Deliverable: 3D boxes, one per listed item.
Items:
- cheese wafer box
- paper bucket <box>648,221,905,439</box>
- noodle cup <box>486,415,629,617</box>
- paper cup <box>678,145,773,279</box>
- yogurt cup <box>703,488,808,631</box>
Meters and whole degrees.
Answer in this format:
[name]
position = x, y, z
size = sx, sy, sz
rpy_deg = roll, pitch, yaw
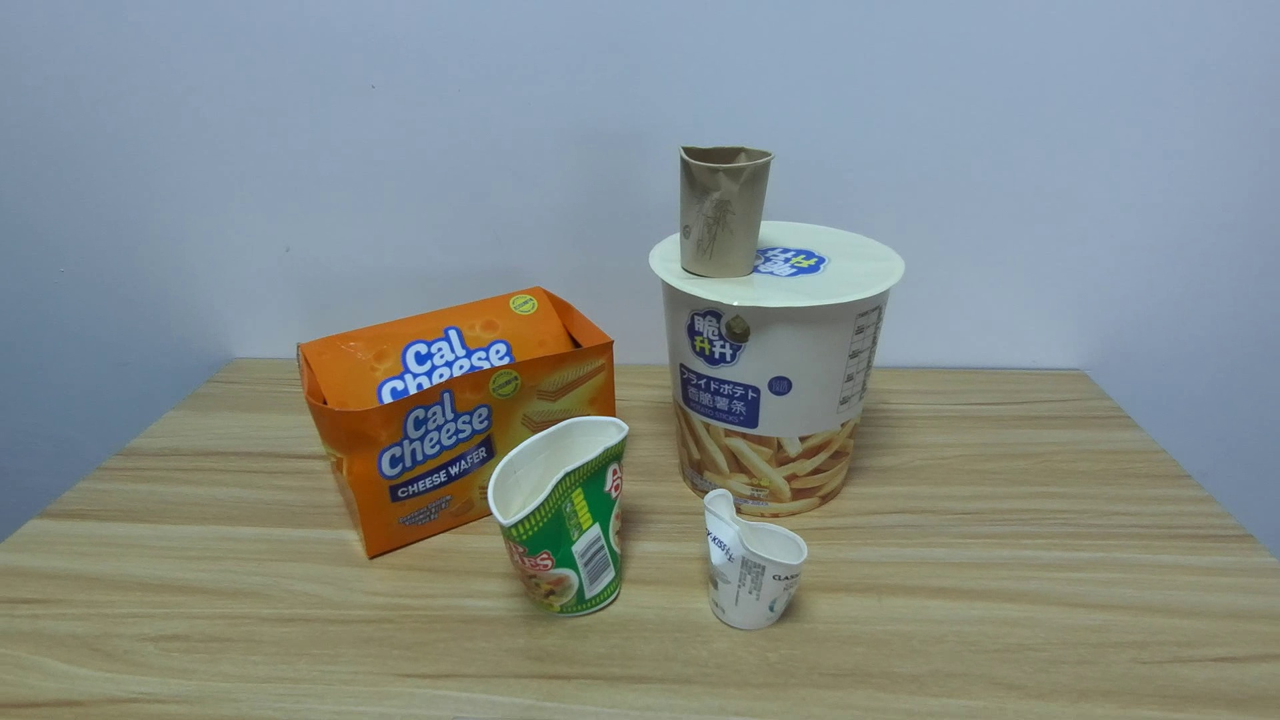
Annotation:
[cheese wafer box]
position = -0.151, 0.043, 0.601
size = 0.231, 0.132, 0.151
rpy_deg = -16, 32, -27
[paper bucket]
position = 0.103, 0.006, 0.580
size = 0.198, 0.195, 0.198
rpy_deg = -1, 28, 1
[noodle cup]
position = -0.048, 0.109, 0.478
size = 0.115, 0.111, 0.070
rpy_deg = -18, 33, -30
[paper cup]
position = 0.062, -0.105, 0.501
size = 0.072, 0.084, 0.066
rpy_deg = -10, 29, -23
[yogurt cup]
position = 0.074, 0.133, 0.467
size = 0.075, 0.071, 0.054
rpy_deg = 12, 31, 25
